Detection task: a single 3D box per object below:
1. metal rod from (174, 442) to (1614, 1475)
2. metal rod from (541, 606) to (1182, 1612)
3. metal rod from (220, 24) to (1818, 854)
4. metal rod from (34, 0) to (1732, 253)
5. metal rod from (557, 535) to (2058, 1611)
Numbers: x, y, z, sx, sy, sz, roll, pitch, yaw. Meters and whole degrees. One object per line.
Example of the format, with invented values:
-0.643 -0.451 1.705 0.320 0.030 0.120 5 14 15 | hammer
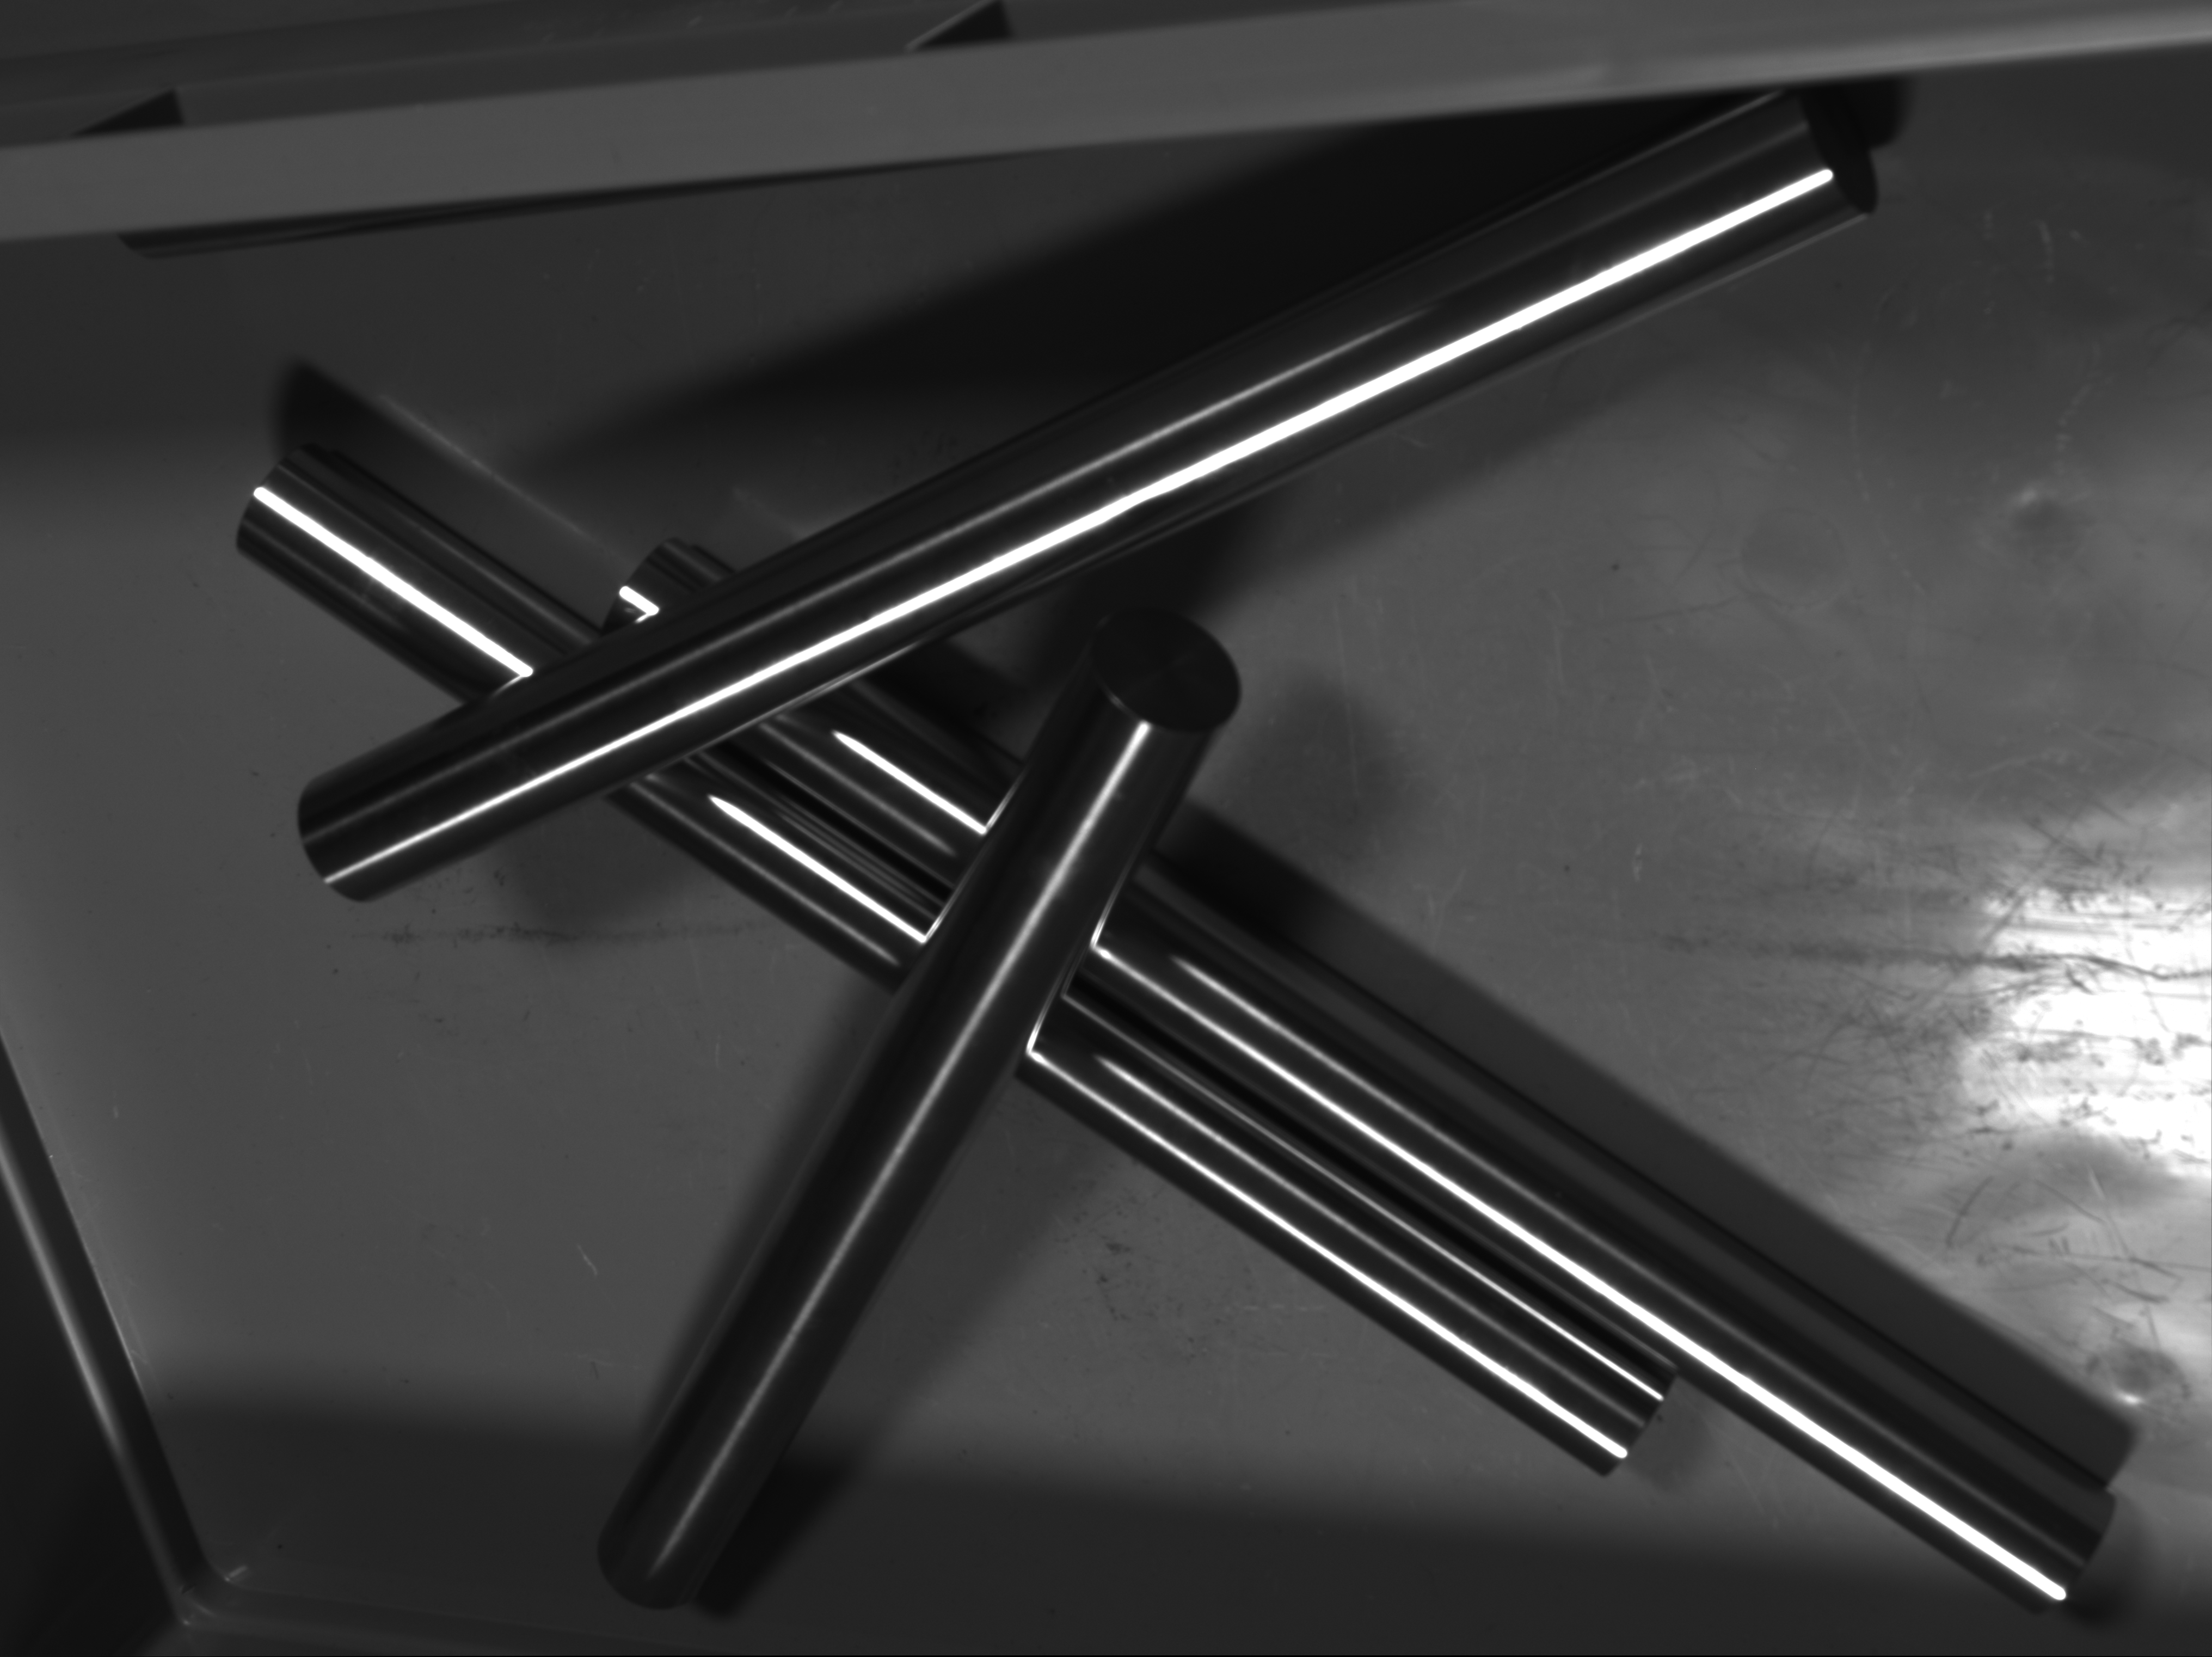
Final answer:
-0.040 0.022 0.664 0.300 0.025 0.025 34 128 5 | metal rod
-0.054 0.065 0.671 0.025 0.025 0.300 35 136 4 | metal rod
-0.028 -0.055 0.592 0.299 0.025 0.025 -21 107 28 | metal rod
-0.049 -0.117 0.584 0.299 0.025 0.025 -1 118 27 | metal rod
0.031 0.041 0.640 0.300 0.025 0.025 34 128 5 | metal rod
